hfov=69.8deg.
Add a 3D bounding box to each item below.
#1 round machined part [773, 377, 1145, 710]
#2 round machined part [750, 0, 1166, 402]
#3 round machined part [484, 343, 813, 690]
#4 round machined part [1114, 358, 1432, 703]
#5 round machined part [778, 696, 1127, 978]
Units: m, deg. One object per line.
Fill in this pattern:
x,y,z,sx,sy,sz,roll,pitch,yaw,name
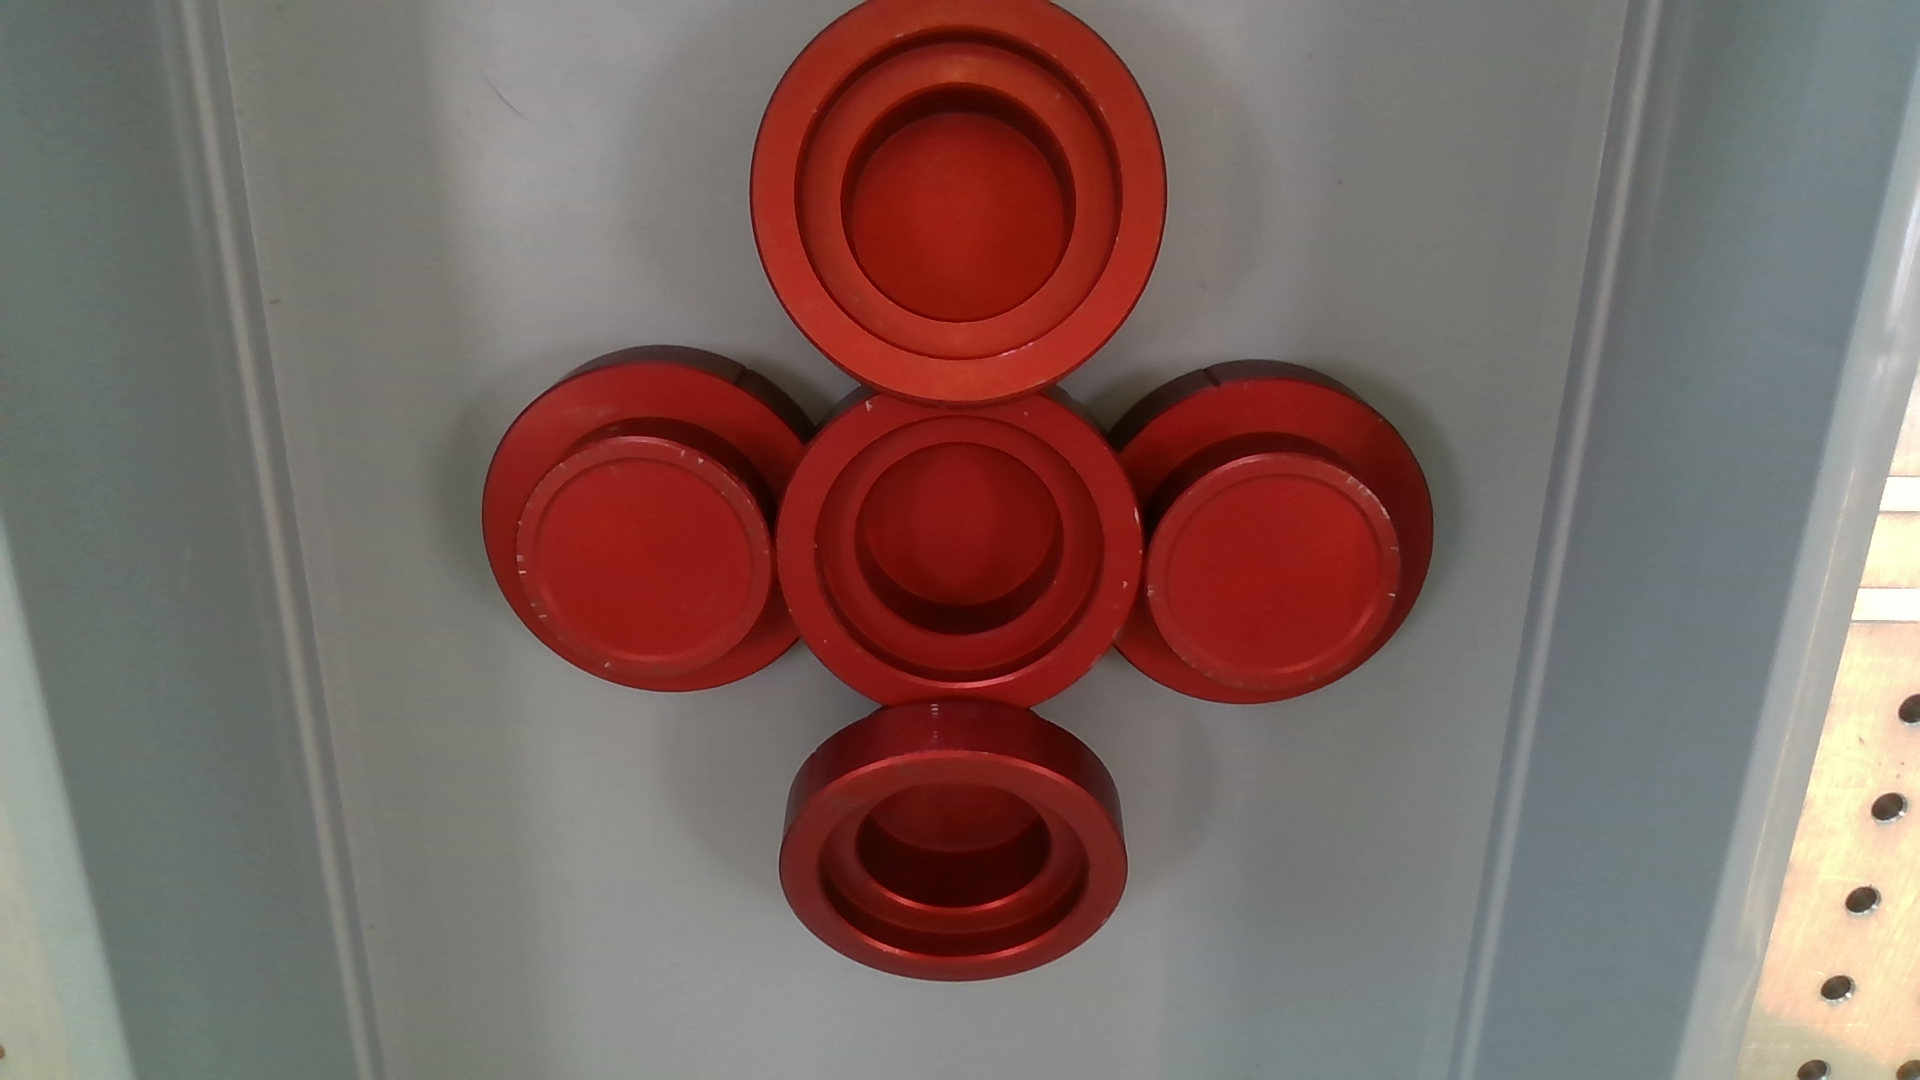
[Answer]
0.000,-0.003,0.381,0.098,0.042,0.098,0,110,0,round machined part
0.000,-0.083,0.344,0.098,0.042,0.098,0,93,0,round machined part
-0.083,-0.002,0.382,0.098,0.042,0.098,0,110,0,round machined part
0.083,0.002,0.384,0.098,0.042,0.098,0,110,0,round machined part
-0.002,0.081,0.404,0.098,0.042,0.098,0,127,0,round machined part
